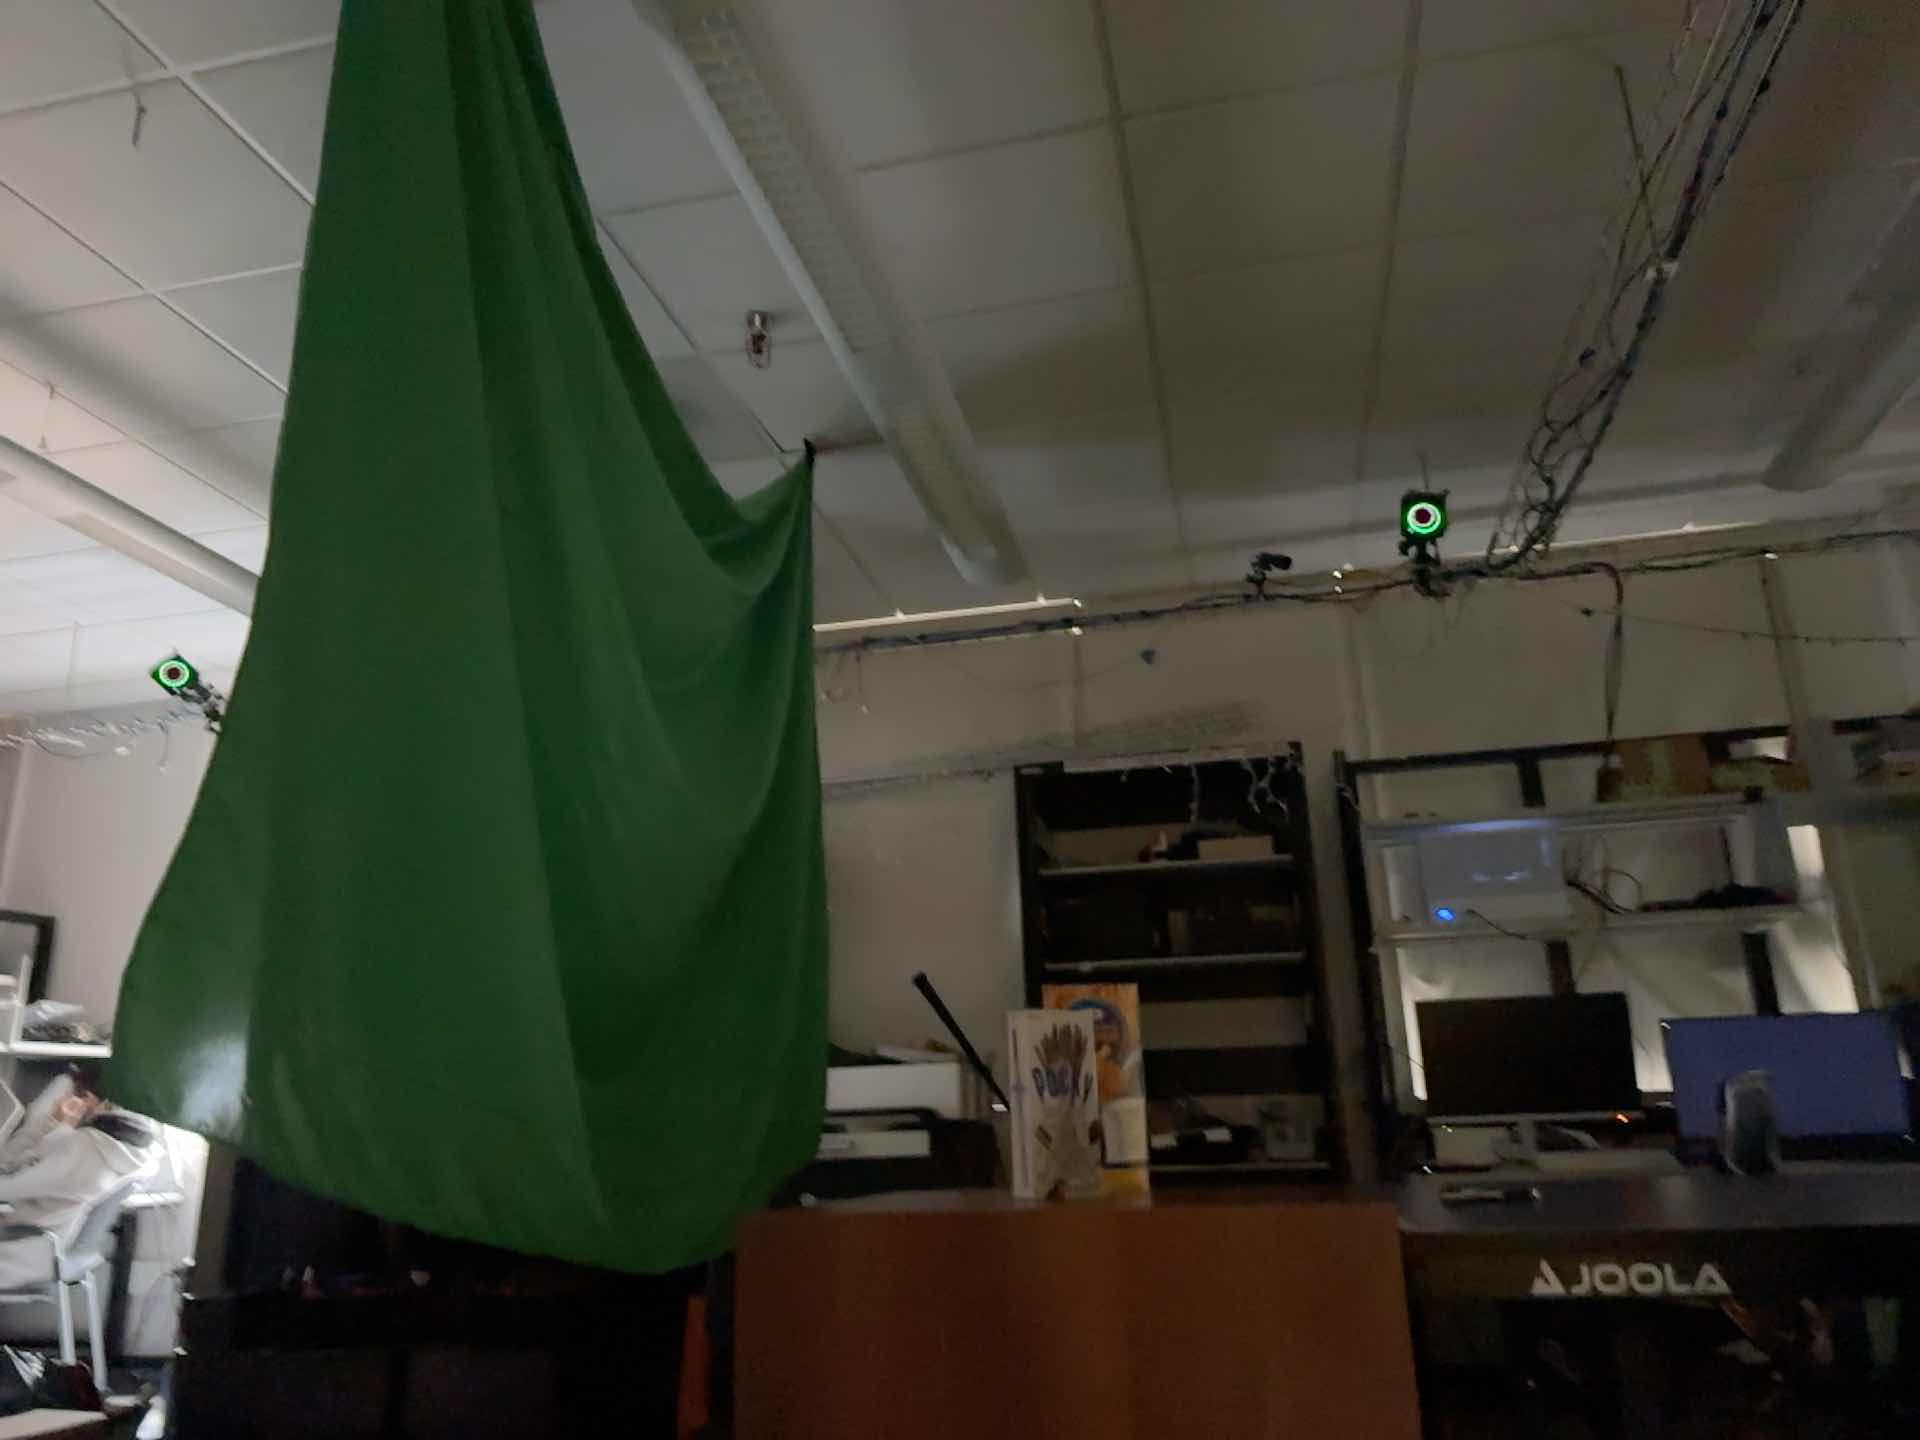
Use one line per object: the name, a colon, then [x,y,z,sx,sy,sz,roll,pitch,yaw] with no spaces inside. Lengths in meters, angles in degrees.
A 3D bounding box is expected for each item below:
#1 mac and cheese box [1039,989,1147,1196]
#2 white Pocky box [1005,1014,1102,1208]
mac and cheese box: [0.122,0.345,1.249,0.088,0.181,0.035,-4,-17,6]
white Pocky box: [0.079,0.327,1.131,0.084,0.154,0.028,11,-20,-35]
